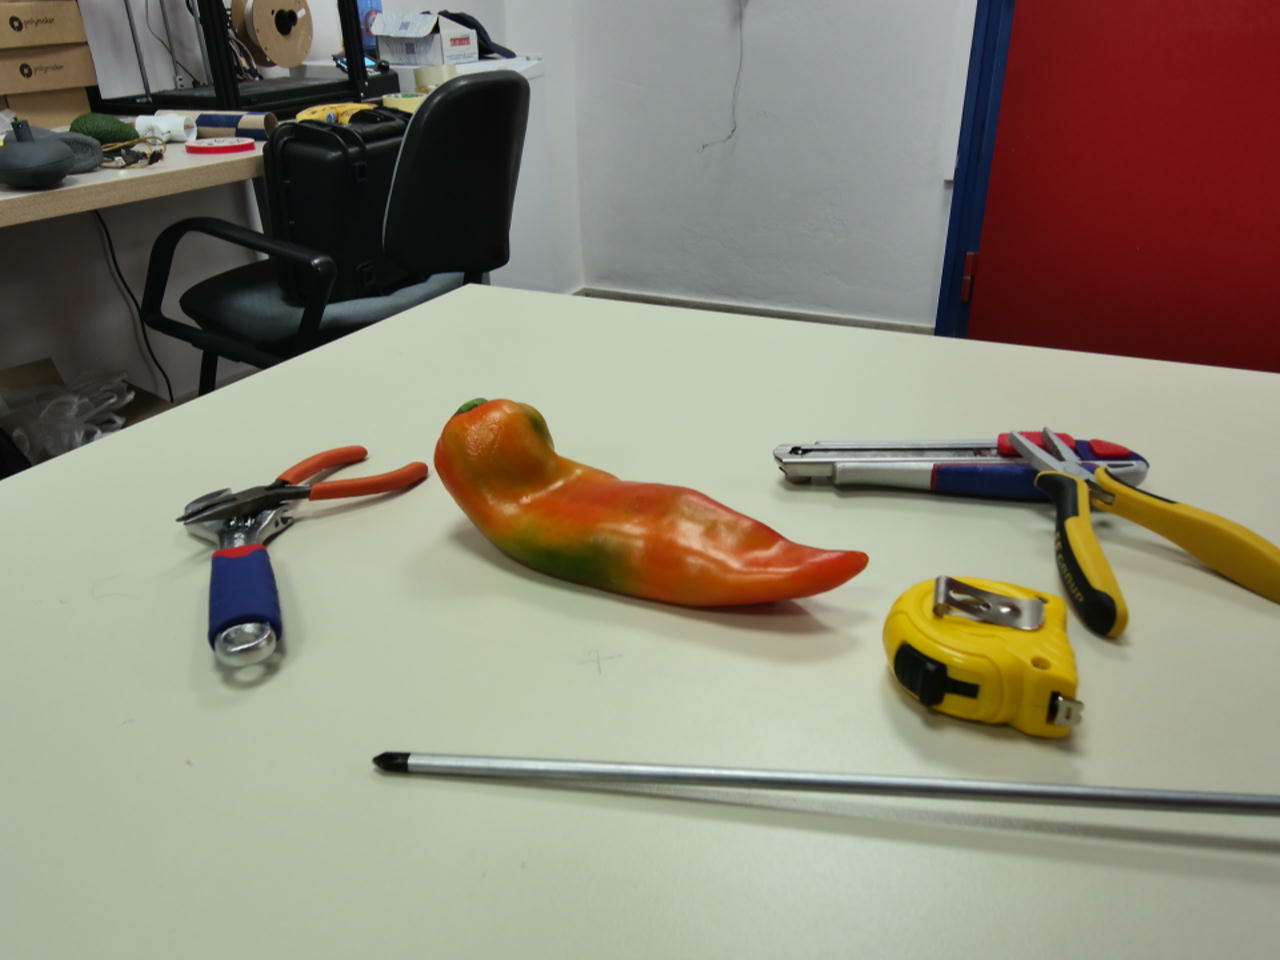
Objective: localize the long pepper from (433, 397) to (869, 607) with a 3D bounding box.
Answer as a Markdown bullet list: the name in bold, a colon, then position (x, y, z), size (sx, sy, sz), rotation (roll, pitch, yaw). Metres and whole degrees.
- **long pepper**: position (-0.002, 0.009, 0.422), size (0.199, 0.065, 0.066), rotation (13, 27, 29)
